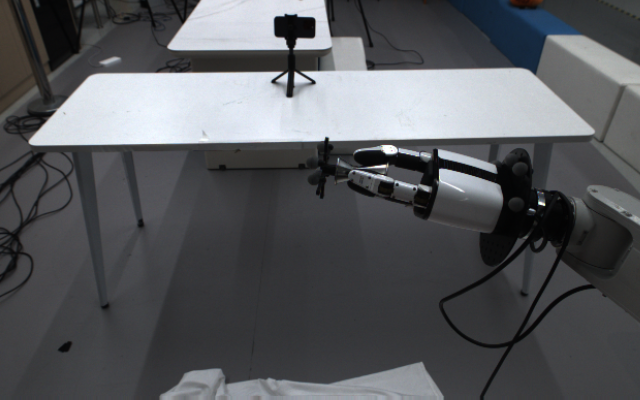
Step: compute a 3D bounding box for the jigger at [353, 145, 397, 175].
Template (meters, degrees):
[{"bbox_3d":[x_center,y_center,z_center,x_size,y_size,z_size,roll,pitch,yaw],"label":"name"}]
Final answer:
[{"bbox_3d":[0.063,-0.040,0.656,0.071,0.043,0.043,7,35,8],"label":"jigger"}]
